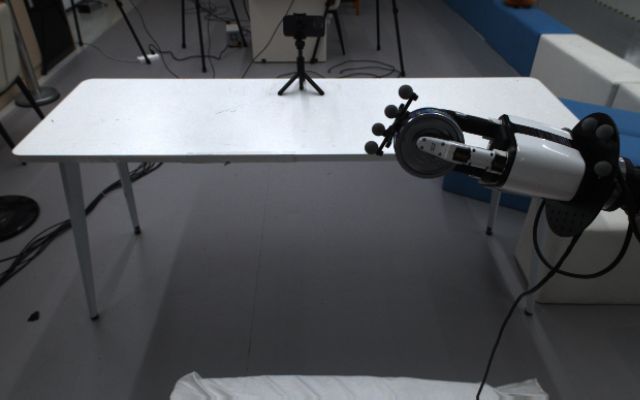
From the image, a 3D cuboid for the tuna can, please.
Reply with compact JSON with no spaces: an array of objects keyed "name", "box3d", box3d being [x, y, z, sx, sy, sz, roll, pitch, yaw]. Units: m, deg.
[{"name":"tuna can","box3d":[0.138,-0.074,0.610,0.085,0.085,0.034,3,20,1]}]
